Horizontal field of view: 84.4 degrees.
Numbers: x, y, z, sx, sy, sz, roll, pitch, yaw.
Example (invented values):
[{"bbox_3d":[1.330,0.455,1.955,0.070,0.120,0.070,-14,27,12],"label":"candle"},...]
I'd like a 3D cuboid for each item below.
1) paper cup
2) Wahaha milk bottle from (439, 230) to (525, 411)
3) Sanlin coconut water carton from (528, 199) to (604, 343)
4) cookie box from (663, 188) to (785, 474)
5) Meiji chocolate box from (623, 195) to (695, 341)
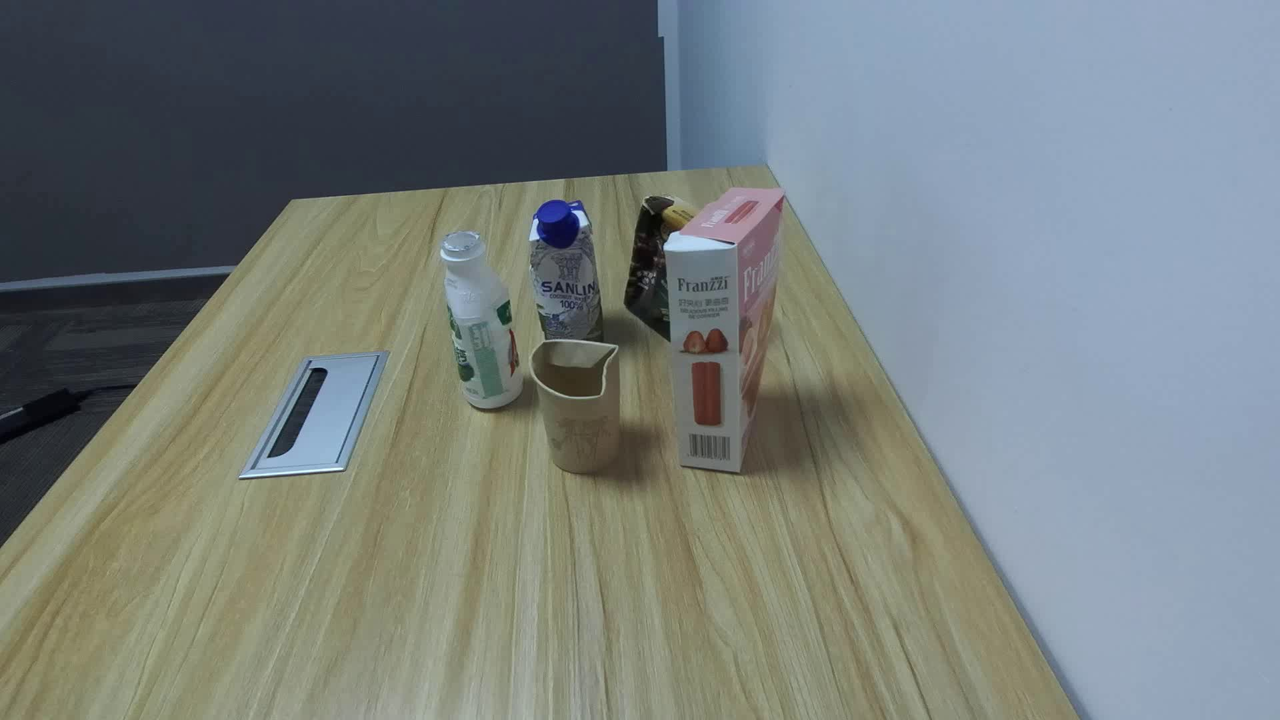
[{"bbox_3d":[-0.047,0.037,0.524,0.066,0.084,0.071,5,35,12],"label":"paper cup"},{"bbox_3d":[-0.128,-0.030,0.569,0.055,0.149,0.055,0,37,1],"label":"Wahaha milk bottle"},{"bbox_3d":[-0.068,-0.079,0.633,0.061,0.144,0.069,-5,36,0],"label":"Sanlin coconut water carton"},{"bbox_3d":[0.060,-0.020,0.507,0.055,0.184,0.118,11,38,19],"label":"cookie box"},{"bbox_3d":[0.039,-0.080,0.640,0.058,0.111,0.112,-14,32,-34],"label":"Meiji chocolate box"}]
